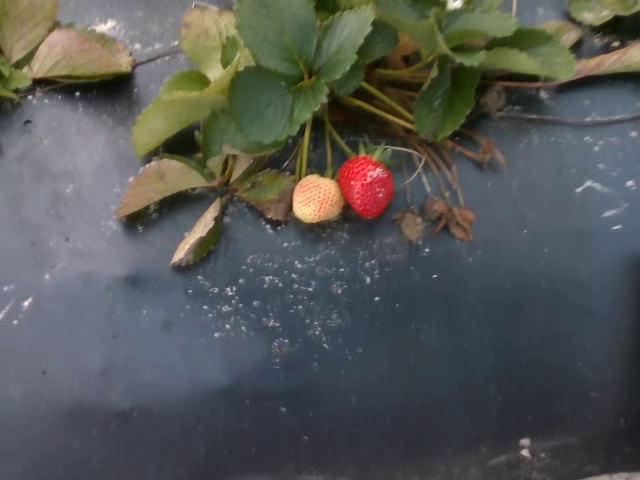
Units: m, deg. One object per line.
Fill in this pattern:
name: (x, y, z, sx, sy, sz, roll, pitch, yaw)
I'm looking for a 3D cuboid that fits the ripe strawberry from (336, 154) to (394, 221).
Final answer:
ripe strawberry: (0.025, -0.028, 0.349, 0.034, 0.033, 0.042, 25, 36, -6)
